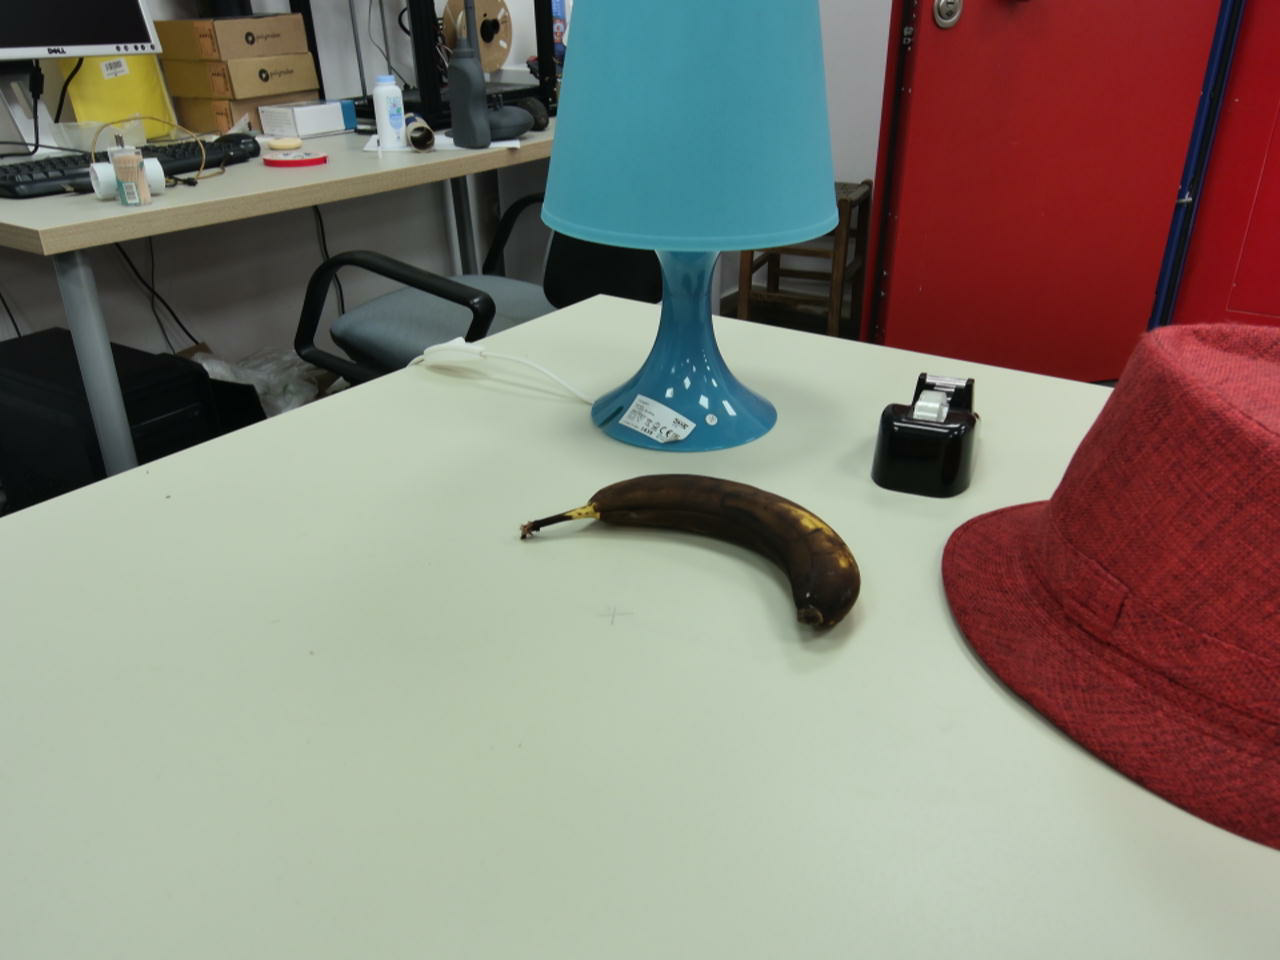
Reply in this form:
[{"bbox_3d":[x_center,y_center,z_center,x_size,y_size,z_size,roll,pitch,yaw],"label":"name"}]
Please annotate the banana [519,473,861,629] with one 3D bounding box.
[{"bbox_3d":[0.035,0.025,0.524,0.188,0.034,0.091,17,30,34],"label":"banana"}]
